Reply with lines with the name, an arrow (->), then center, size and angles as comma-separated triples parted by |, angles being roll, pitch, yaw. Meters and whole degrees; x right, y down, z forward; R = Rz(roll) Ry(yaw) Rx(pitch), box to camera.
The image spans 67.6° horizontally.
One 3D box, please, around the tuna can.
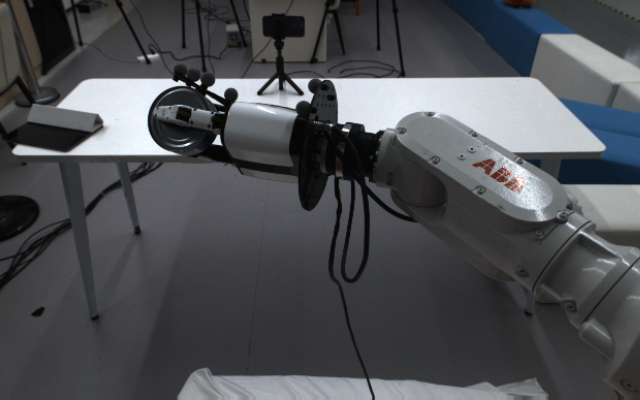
tuna can -> -0.176, -0.100, 0.629 | 0.085, 0.085, 0.034 | 9, -5, 10
